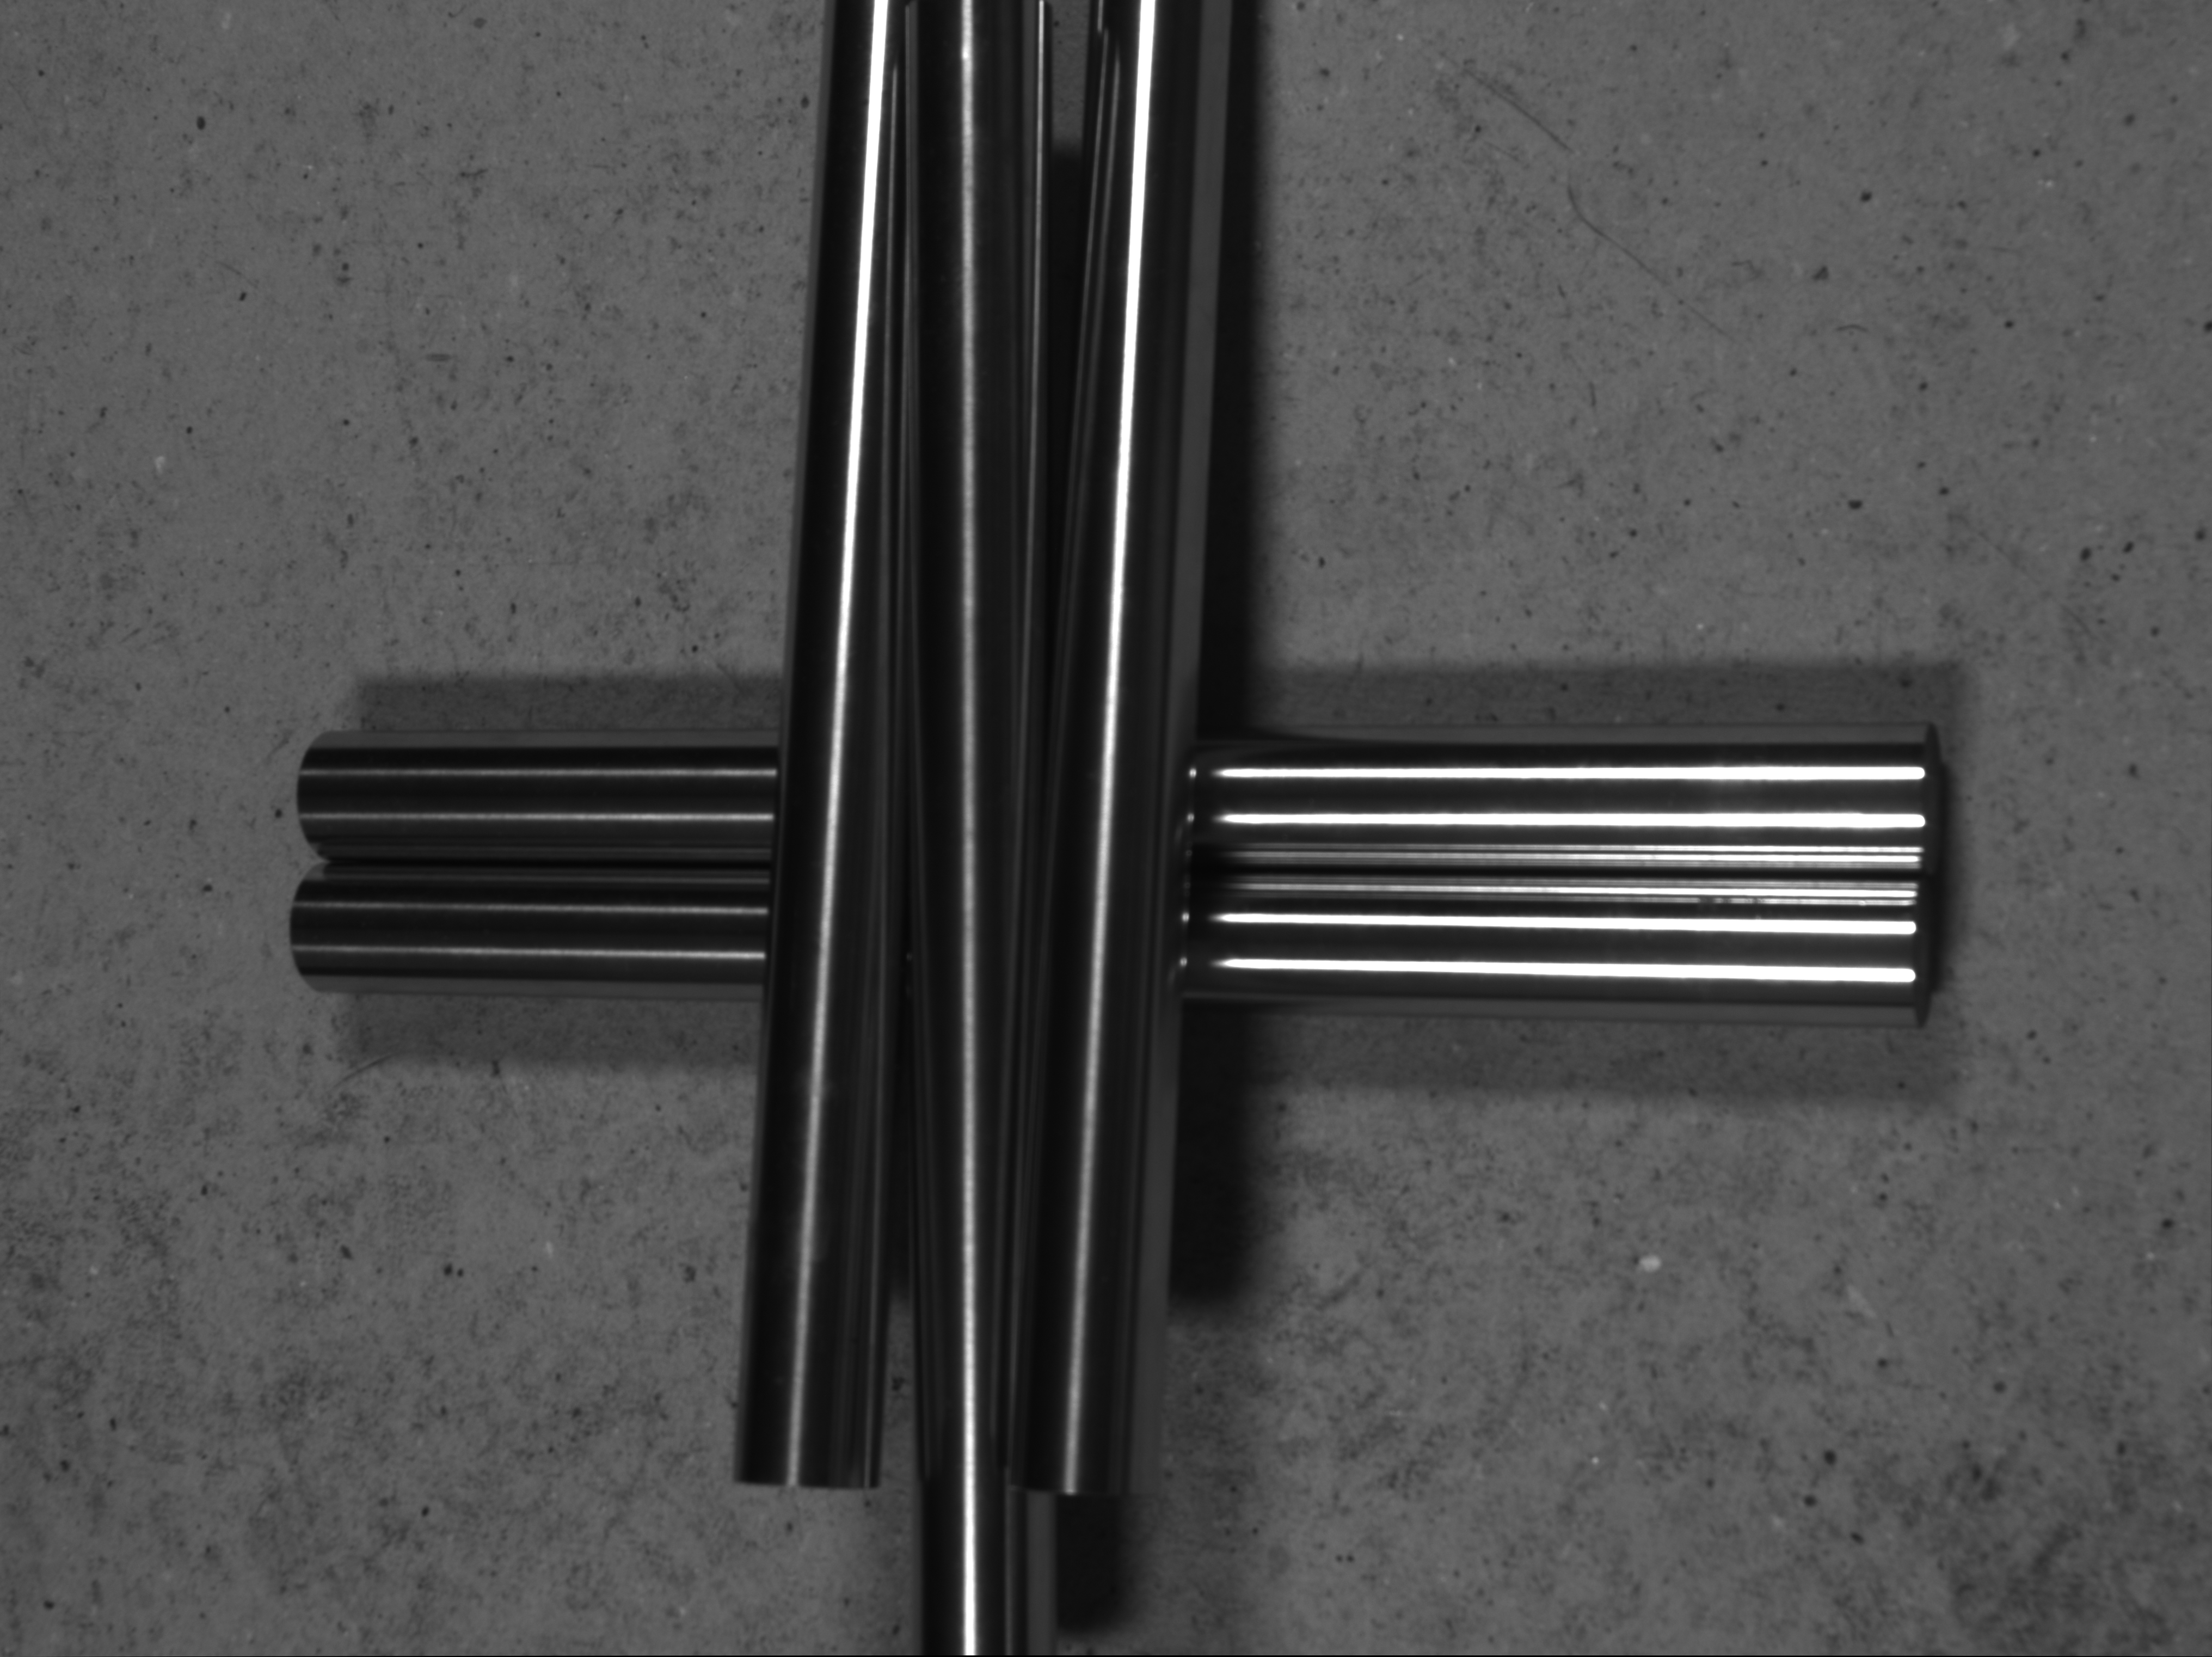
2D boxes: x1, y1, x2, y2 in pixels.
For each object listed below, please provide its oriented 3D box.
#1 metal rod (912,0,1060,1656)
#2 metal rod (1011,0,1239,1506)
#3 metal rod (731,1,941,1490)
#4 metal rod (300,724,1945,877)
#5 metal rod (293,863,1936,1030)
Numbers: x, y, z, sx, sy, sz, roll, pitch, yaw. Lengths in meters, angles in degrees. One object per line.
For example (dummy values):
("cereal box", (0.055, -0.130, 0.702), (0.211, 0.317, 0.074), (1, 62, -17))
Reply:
("metal rod", (-0.021, 0.010, 0.625), (0.025, 0.025, 0.300), (0, 90, 20))
("metal rod", (0.005, -0.038, 0.620), (0.025, 0.025, 0.300), (0, 82, 20))
("metal rod", (-0.043, -0.038, 0.638), (0.025, 0.025, 0.300), (0, 82, 20))
("metal rod", (-0.006, -0.005, 0.647), (0.299, 0.025, 0.025), (0, 90, 20))
("metal rod", (-0.007, 0.020, 0.648), (0.299, 0.025, 0.025), (0, 90, 20))
